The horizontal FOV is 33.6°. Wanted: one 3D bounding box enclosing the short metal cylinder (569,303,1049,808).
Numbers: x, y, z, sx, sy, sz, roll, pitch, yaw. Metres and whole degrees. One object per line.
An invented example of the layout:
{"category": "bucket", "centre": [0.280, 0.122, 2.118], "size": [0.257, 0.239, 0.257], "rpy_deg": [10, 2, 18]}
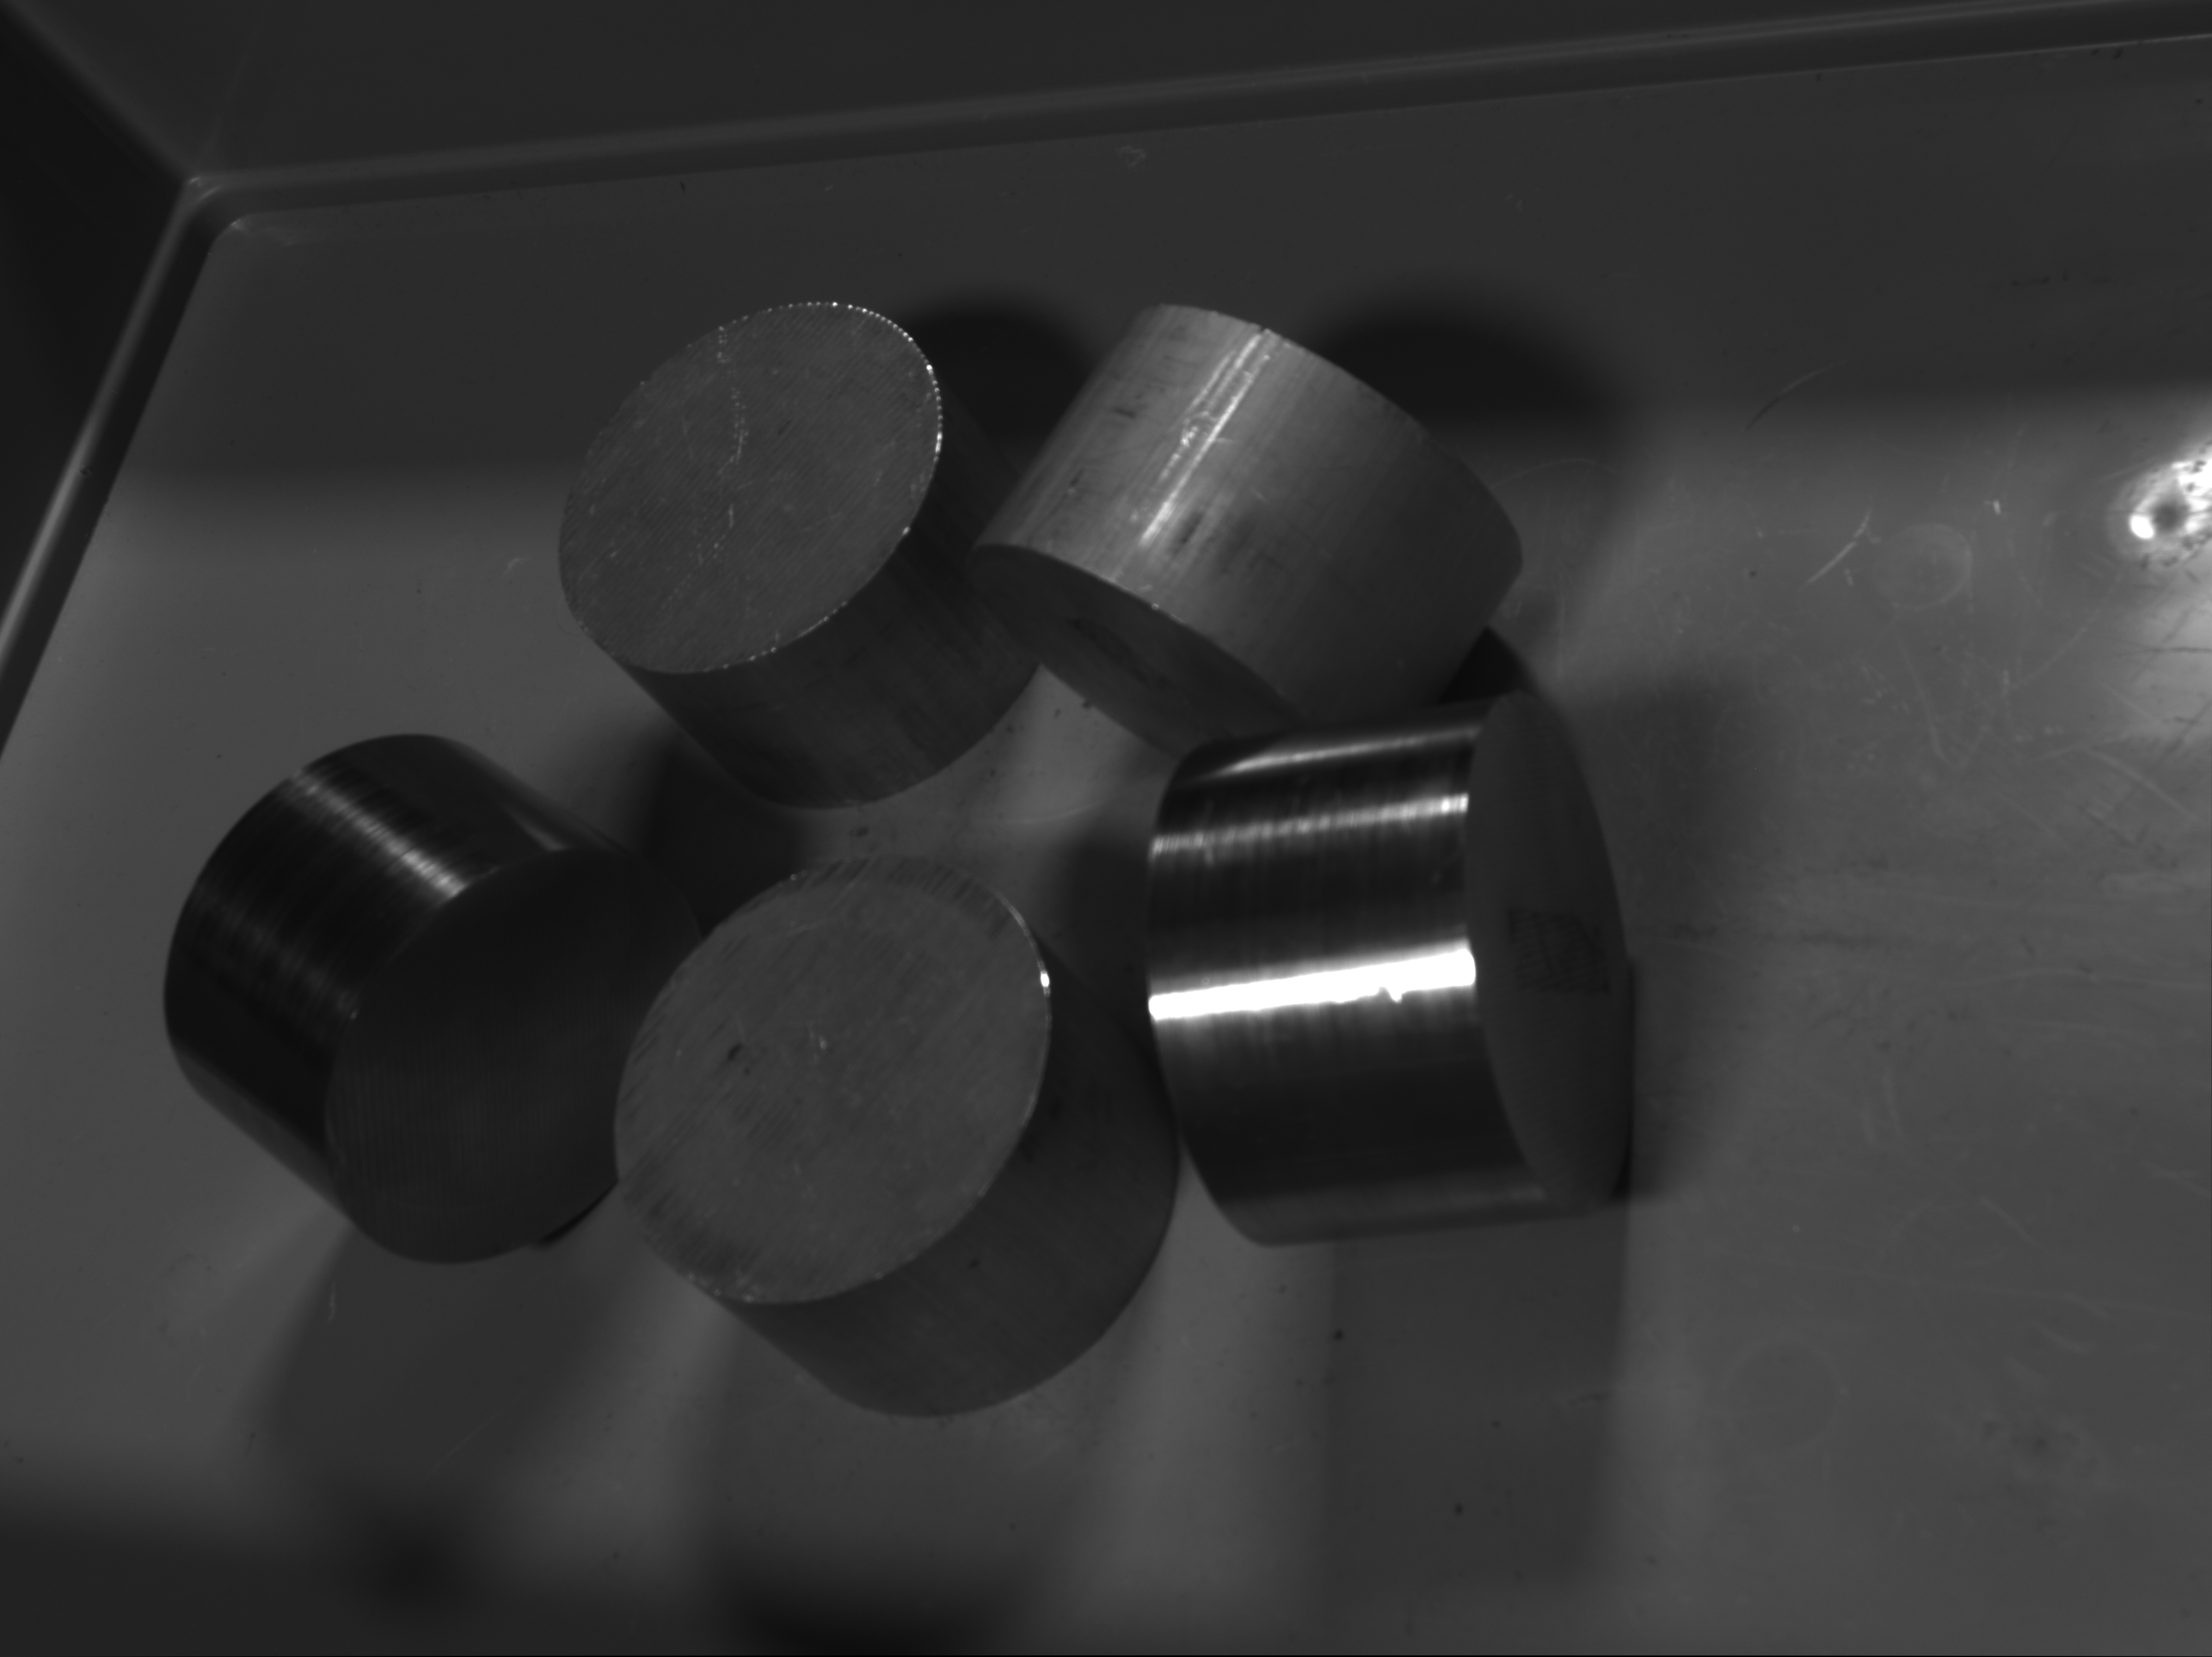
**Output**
{"category": "short metal cylinder", "centre": [-0.053, -0.051, 0.686], "size": [0.080, 0.050, 0.080], "rpy_deg": [-13, 56, 21]}

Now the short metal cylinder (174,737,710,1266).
{"category": "short metal cylinder", "centre": [-0.117, 0.030, 0.651], "size": [0.050, 0.080, 0.080], "rpy_deg": [30, 78, 38]}

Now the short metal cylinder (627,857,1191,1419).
{"category": "short metal cylinder", "centre": [-0.032, 0.052, 0.612], "size": [0.080, 0.050, 0.080], "rpy_deg": [-13, 56, 21]}

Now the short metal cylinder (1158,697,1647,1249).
{"category": "short metal cylinder", "centre": [0.047, 0.023, 0.567], "size": [0.050, 0.080, 0.080], "rpy_deg": [-9, 58, 24]}

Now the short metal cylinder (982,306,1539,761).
{"category": "short metal cylinder", "centre": [0.026, -0.044, 0.622], "size": [0.080, 0.080, 0.050], "rpy_deg": [24, 74, 37]}
